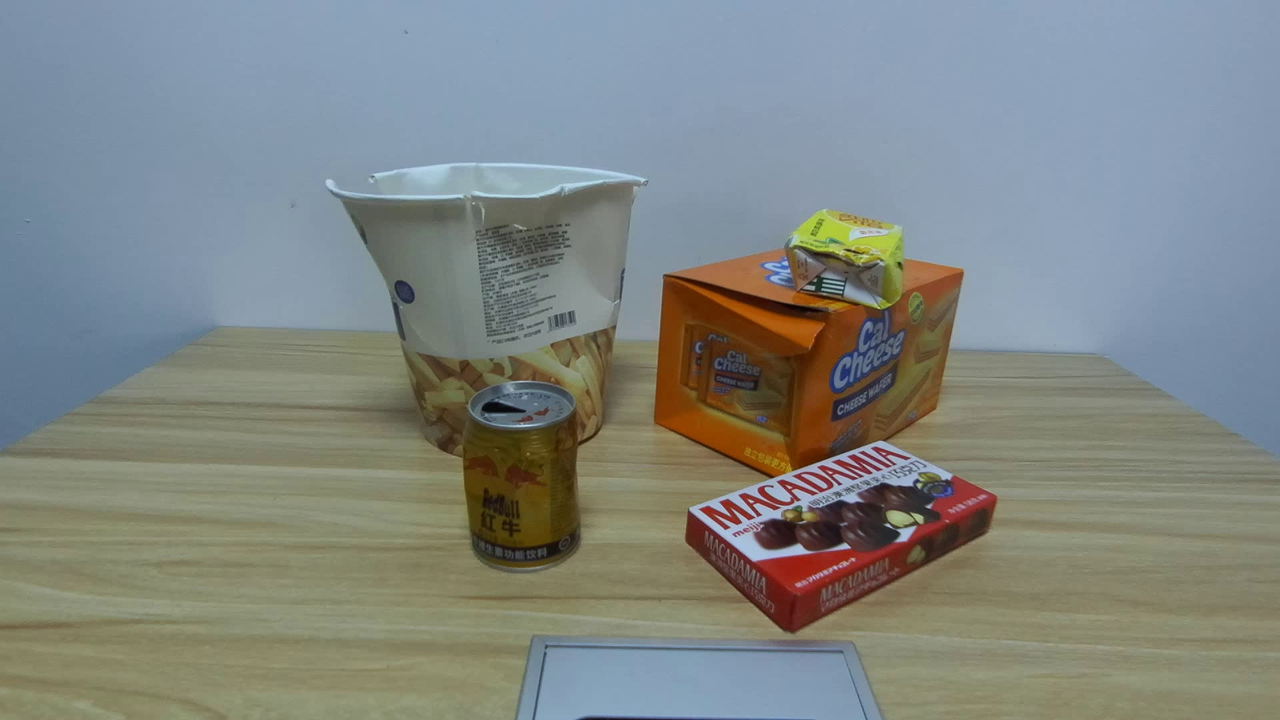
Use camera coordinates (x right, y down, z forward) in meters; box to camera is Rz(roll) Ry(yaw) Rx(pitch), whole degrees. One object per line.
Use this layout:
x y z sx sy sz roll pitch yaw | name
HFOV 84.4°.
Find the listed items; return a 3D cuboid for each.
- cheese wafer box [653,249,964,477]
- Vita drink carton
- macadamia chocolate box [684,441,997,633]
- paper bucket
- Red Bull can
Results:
0.140 -0.013 0.575 0.228 0.137 0.149 -17 29 -41 | cheese wafer box
0.151 -0.072 0.512 0.087 0.042 0.108 19 29 18 | Vita drink carton
0.126 0.099 0.437 0.178 0.027 0.095 -12 24 -31 | macadamia chocolate box
-0.103 -0.043 0.539 0.145 0.197 0.203 15 25 31 | paper bucket
-0.066 0.066 0.410 0.068 0.093 0.068 2 20 0 | Red Bull can
